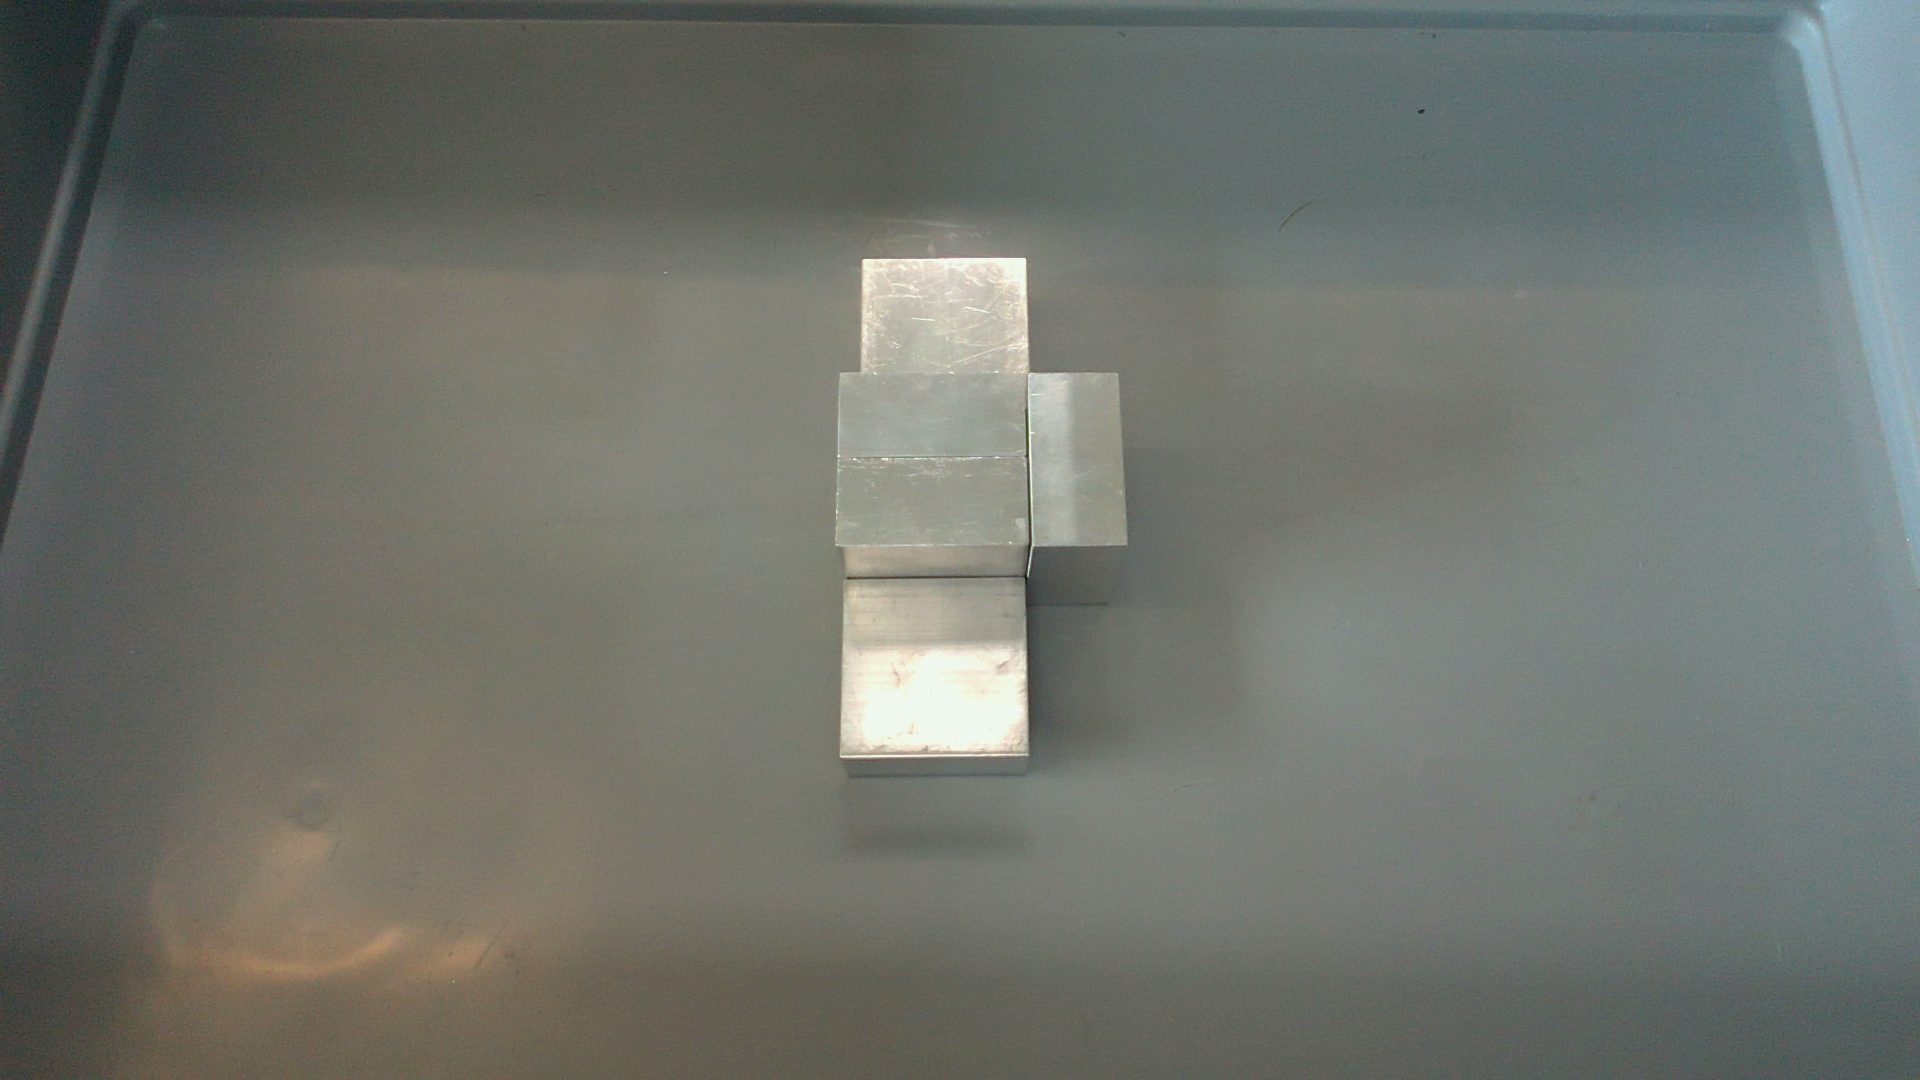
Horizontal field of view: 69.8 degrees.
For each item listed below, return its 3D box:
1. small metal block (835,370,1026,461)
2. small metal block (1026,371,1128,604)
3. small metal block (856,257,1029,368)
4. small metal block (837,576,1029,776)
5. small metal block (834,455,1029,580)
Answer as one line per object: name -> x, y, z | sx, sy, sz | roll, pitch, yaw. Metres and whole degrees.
small metal block -> -0.008, -0.025, 0.389 | 0.050, 0.050, 0.025 | 0, 70, 0
small metal block -> 0.031, -0.013, 0.385 | 0.025, 0.050, 0.050 | 0, 70, 0
small metal block -> -0.005, -0.057, 0.414 | 0.050, 0.025, 0.050 | 0, 70, 0
small metal block -> -0.007, 0.038, 0.379 | 0.050, 0.025, 0.050 | 0, 70, 0
small metal block -> -0.007, -0.002, 0.381 | 0.050, 0.050, 0.025 | 0, 70, 0
